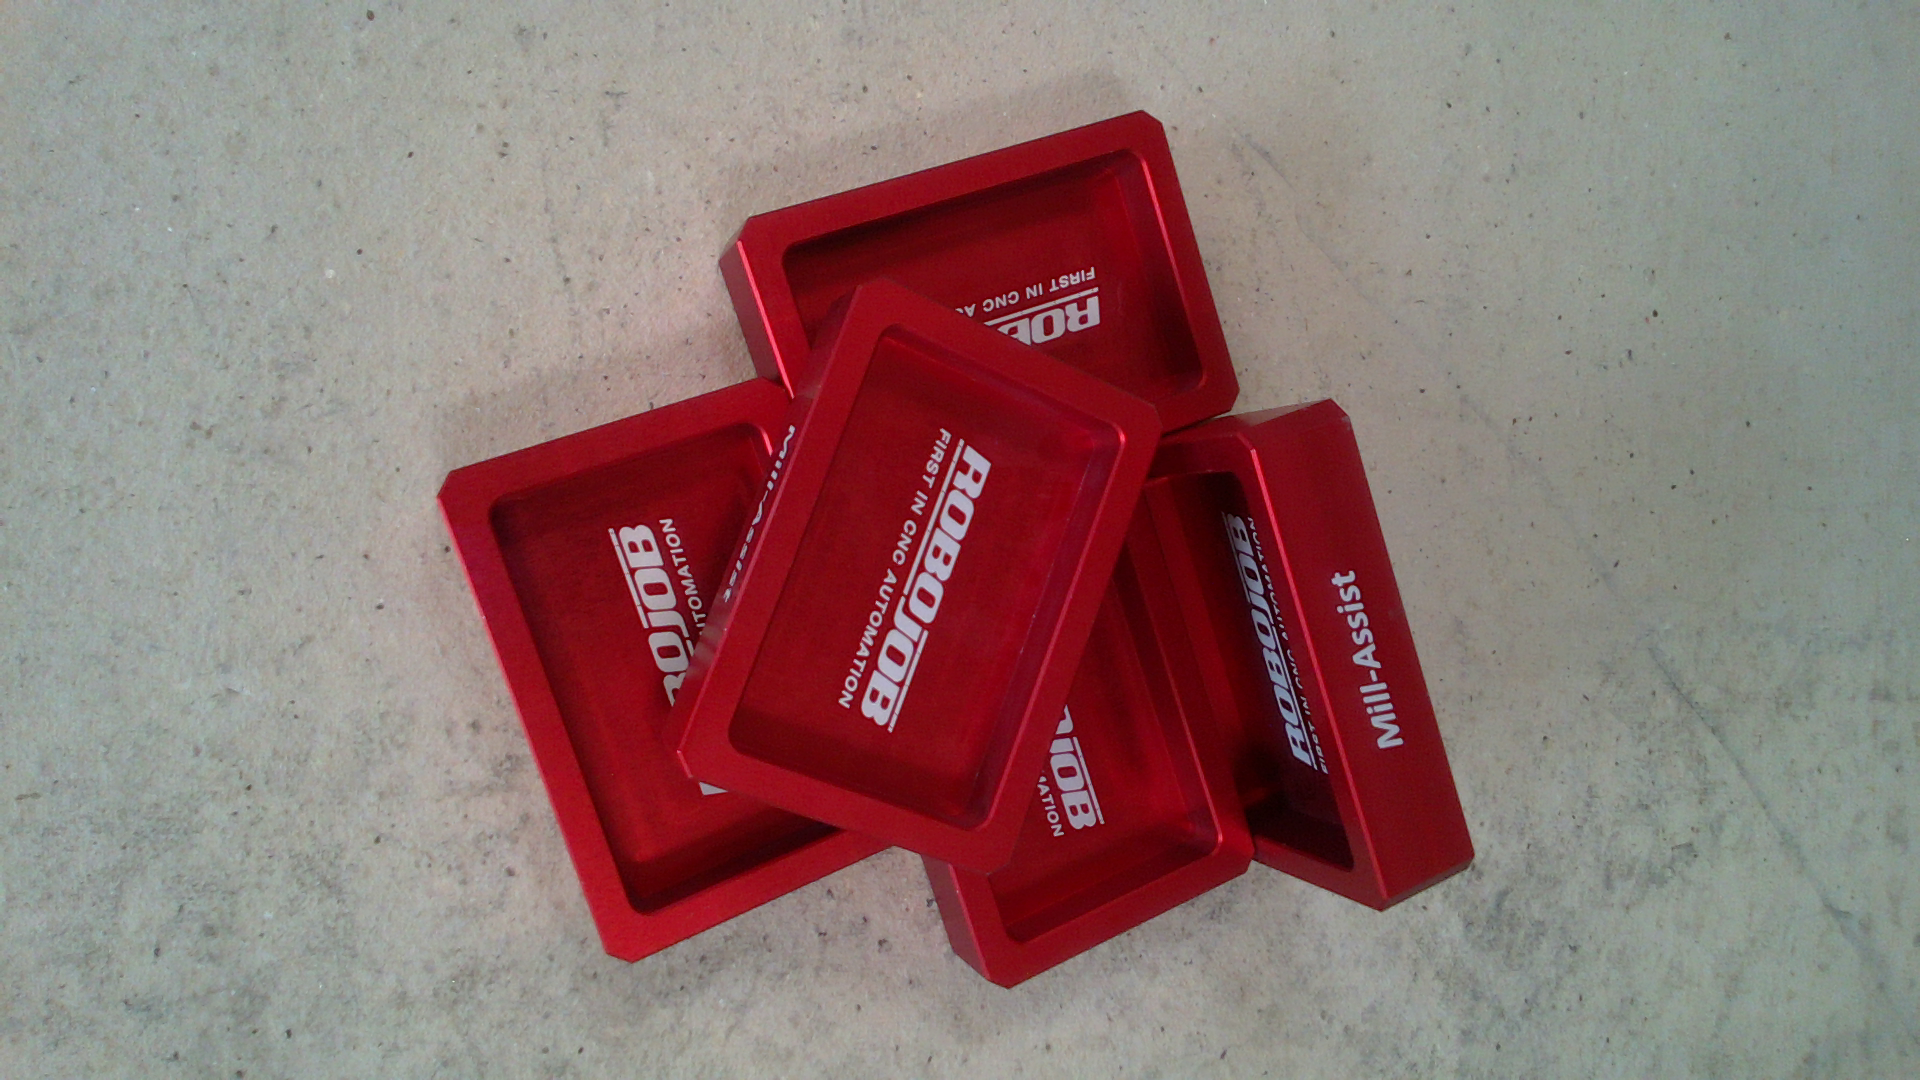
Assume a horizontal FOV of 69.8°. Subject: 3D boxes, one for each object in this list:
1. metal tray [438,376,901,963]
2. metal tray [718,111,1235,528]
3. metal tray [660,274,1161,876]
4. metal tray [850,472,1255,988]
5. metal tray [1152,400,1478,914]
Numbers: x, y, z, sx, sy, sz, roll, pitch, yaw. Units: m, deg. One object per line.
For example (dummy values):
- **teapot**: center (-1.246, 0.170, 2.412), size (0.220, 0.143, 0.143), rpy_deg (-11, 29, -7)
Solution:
- **metal tray**: center (-0.071, 0.032, 0.364), size (0.090, 0.030, 0.130), rpy_deg (-20, 96, -18)
- **metal tray**: center (0.006, -0.062, 0.394), size (0.130, 0.030, 0.090), rpy_deg (-20, 97, -18)
- **metal tray**: center (-0.012, 0.010, 0.356), size (0.090, 0.030, 0.130), rpy_deg (23, 83, -18)
- **metal tray**: center (0.024, 0.049, 0.398), size (0.090, 0.030, 0.130), rpy_deg (-20, 98, -18)
- **metal tray**: center (0.090, 0.030, 0.390), size (0.030, 0.090, 0.130), rpy_deg (-19, 97, -19)
